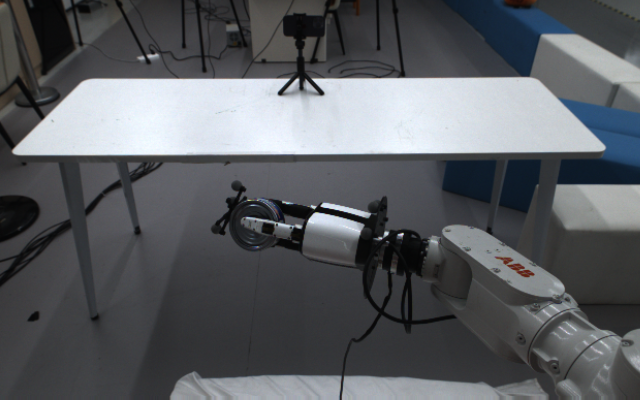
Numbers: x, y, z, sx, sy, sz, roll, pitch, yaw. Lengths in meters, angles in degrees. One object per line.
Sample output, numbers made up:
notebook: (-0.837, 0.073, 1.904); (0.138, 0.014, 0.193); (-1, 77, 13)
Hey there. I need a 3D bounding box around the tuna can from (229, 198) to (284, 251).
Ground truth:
tuna can: (-0.099, 0.042, 0.775); (0.085, 0.085, 0.034); (9, 6, 9)
